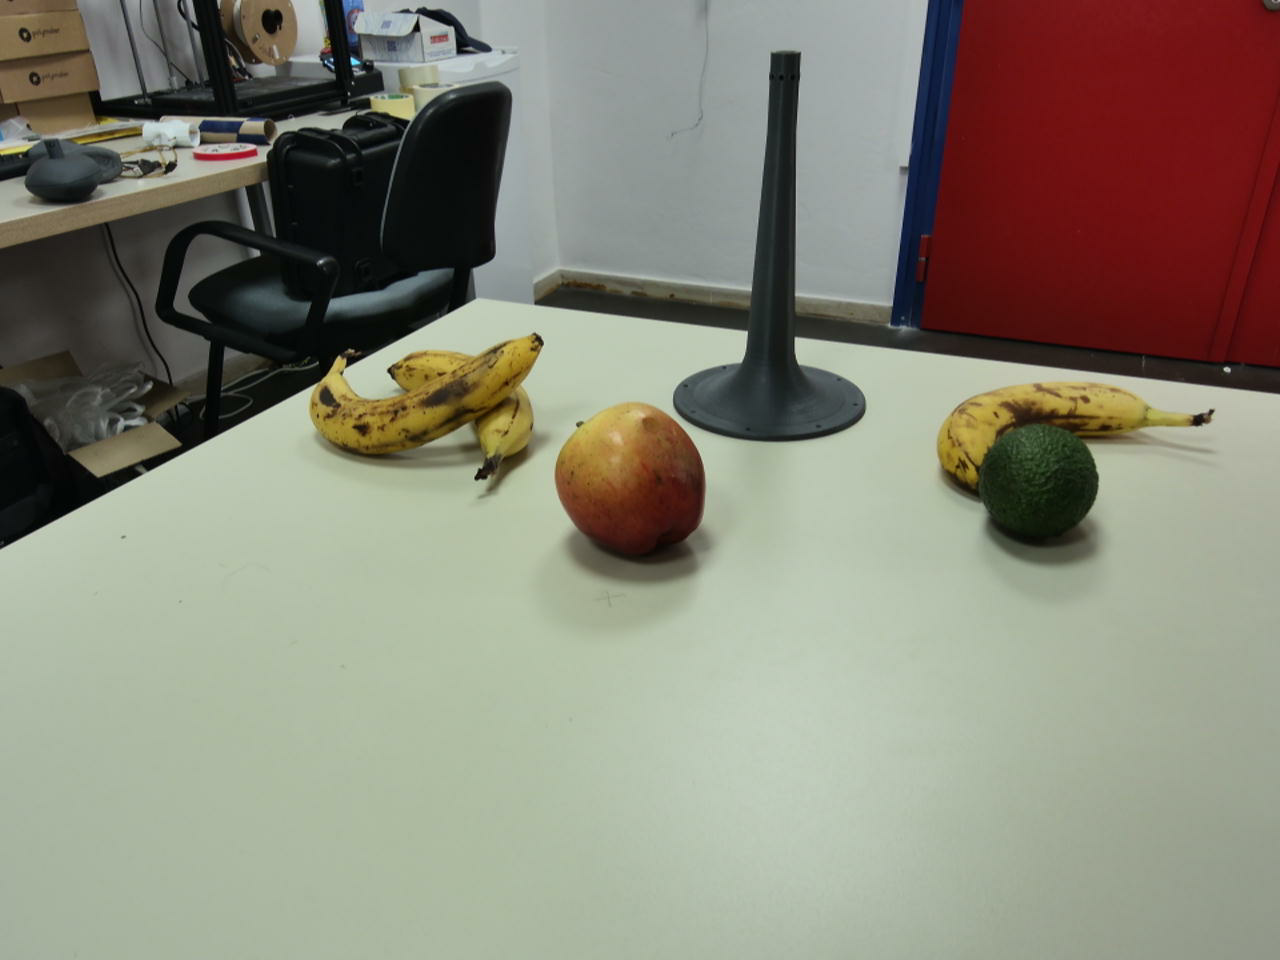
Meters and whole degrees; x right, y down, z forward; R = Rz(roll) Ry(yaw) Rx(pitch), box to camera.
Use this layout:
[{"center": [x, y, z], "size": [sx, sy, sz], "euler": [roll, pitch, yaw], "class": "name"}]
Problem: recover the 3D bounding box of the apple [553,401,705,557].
[{"center": [-0.006, -0.002, 0.583], "size": [0.086, 0.084, 0.093], "euler": [-4, 26, -11], "class": "apple"}]
